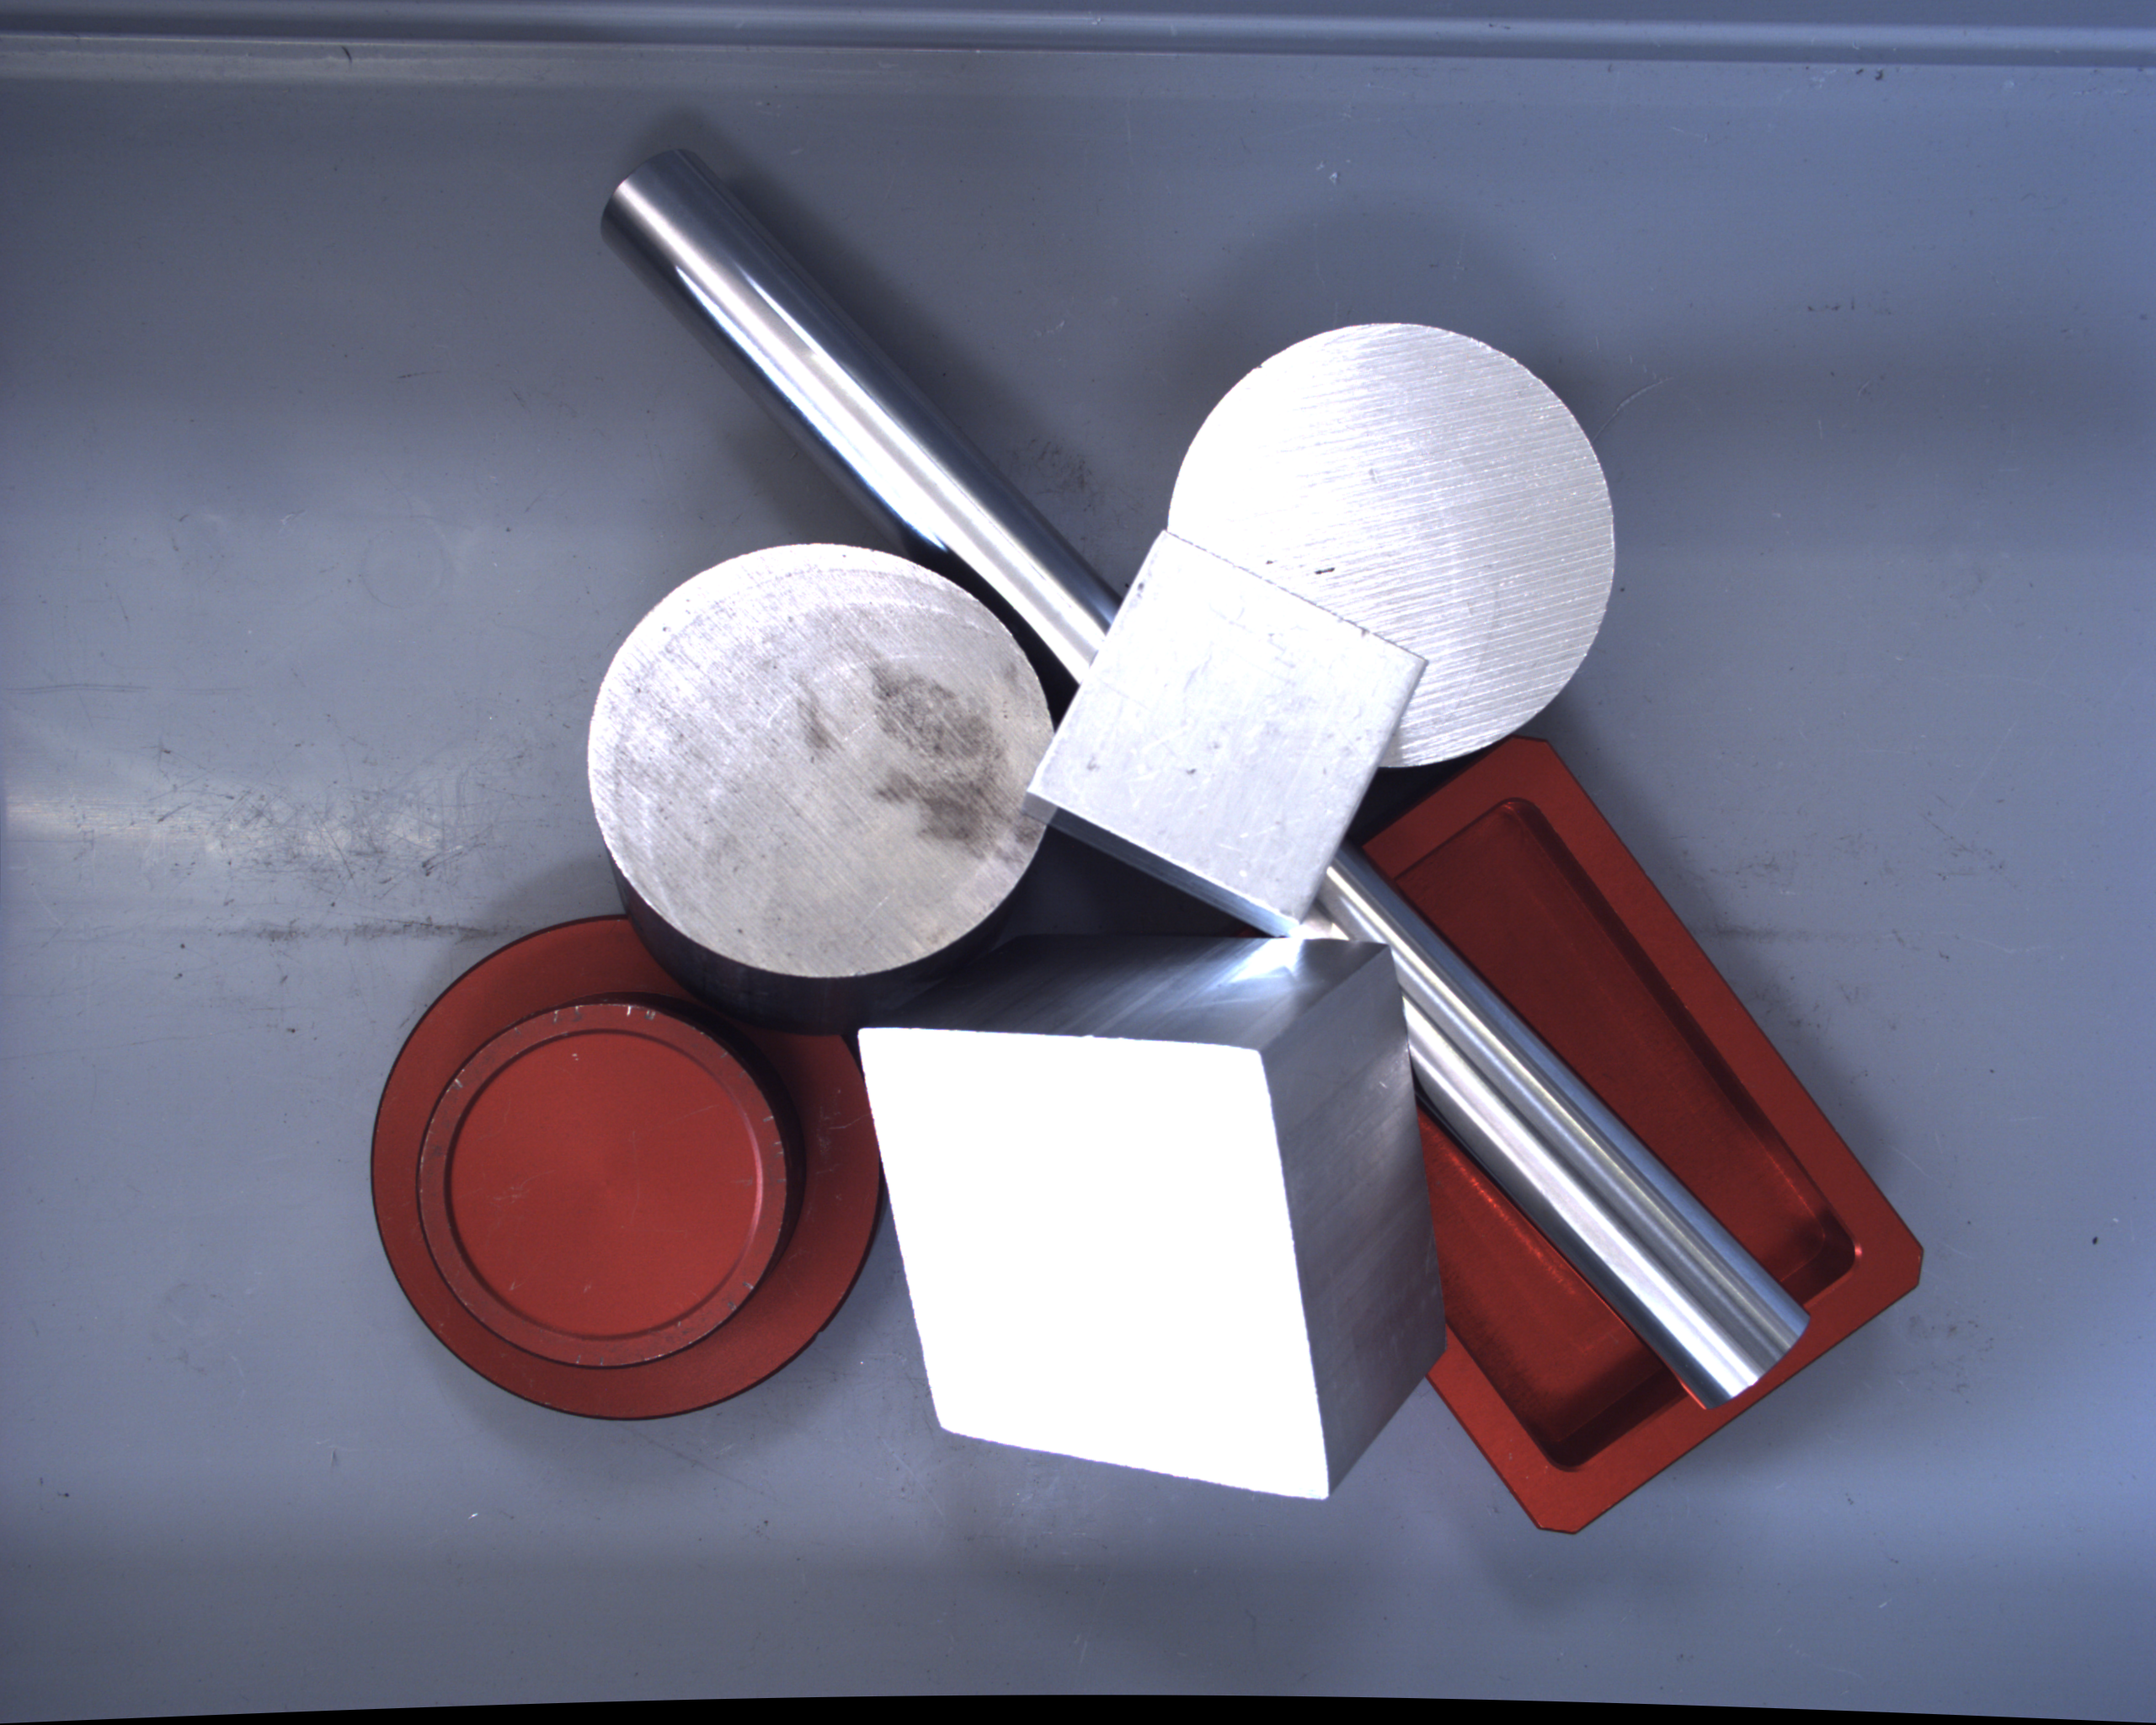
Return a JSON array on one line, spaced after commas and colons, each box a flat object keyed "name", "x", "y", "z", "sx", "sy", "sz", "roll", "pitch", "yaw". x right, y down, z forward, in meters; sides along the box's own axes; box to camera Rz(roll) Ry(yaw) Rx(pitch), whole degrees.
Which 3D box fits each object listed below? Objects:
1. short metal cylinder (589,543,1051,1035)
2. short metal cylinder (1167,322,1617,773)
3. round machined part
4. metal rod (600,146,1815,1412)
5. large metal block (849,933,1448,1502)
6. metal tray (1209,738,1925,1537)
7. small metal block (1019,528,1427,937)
[{"name": "short metal cylinder", "x": -0.047, "y": -0.012, "z": 0.386, "sx": 0.081, "sy": 0.050, "sz": 0.080, "roll": 2, "pitch": 73, "yaw": -8}, {"name": "short metal cylinder", "x": 0.056, "y": -0.057, "z": 0.398, "sx": 0.081, "sy": 0.050, "sz": 0.079, "roll": 0, "pitch": 90, "yaw": 0}, {"name": "round machined part", "x": -0.087, "y": 0.059, "z": 0.400, "sx": 0.099, "sy": 0.042, "sz": 0.097, "roll": 0, "pitch": 90, "yaw": 0}, {"name": "metal rod", "x": 0.017, "y": -0.022, "z": 0.385, "sx": 0.025, "sy": 0.025, "sz": 0.300, "roll": -43, "pitch": 81, "yaw": 0}, {"name": "large metal block", "x": 0.014, "y": 0.059, "z": 0.371, "sx": 0.080, "sy": 0.050, "sz": 0.079, "roll": -1, "pitch": 107, "yaw": 33}, {"name": "metal tray", "x": 0.088, "y": 0.052, "z": 0.408, "sx": 0.090, "sy": 0.030, "sz": 0.130, "roll": -36, "pitch": 90, "yaw": 0}, {"name": "small metal block", "x": 0.024, "y": -0.021, "z": 0.357, "sx": 0.050, "sy": 0.025, "sz": 0.050, "roll": 26, "pitch": 82, "yaw": 0}]
